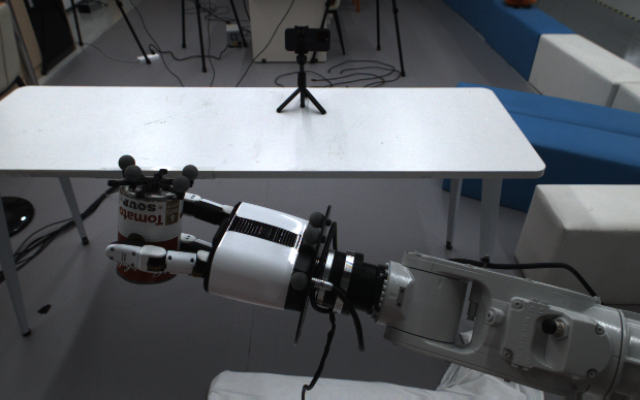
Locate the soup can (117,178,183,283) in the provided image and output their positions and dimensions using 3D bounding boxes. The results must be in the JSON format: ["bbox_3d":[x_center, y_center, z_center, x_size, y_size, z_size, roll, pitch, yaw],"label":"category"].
[{"bbox_3d":[-0.185,0.033,0.536,0.067,0.101,0.067,9,20,-3],"label":"soup can"}]
